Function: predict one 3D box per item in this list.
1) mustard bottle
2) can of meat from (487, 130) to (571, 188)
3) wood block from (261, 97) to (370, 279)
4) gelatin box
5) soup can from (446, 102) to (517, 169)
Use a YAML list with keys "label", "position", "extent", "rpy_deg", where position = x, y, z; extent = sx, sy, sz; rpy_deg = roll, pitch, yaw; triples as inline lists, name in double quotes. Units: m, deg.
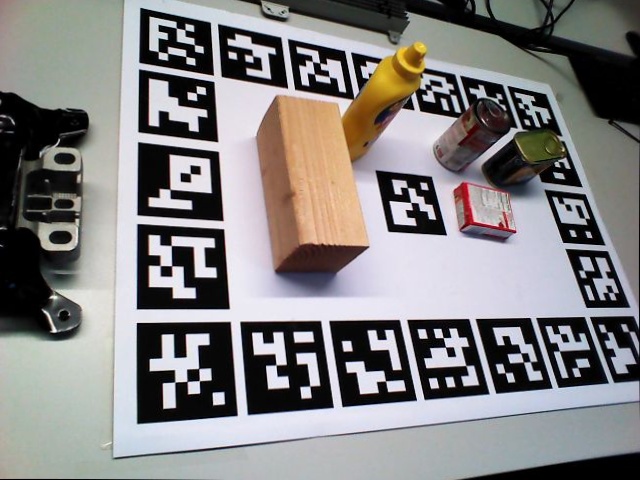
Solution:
- label: "mustard bottle"
  position: [0.083, -0.175, 0.683]
  extent: [0.095, 0.193, 0.058]
  rpy_deg: [-25, 77, -33]
- label: "can of meat"
  position: [0.334, -0.129, 0.833]
  extent: [0.101, 0.084, 0.057]
  rpy_deg: [-12, 71, -31]
- label: "wood block"
  position: [-0.010, -0.065, 0.642]
  extent: [0.091, 0.090, 0.205]
  rpy_deg: [4, 60, -25]
- label: "gelatin box"
  position: [0.268, -0.038, 0.784]
  extent: [0.089, 0.030, 0.073]
  rpy_deg: [11, 63, -16]
- label: "soup can"
  position: [0.248, -0.161, 0.788]
  extent: [0.068, 0.103, 0.067]
  rpy_deg: [9, 63, -20]
